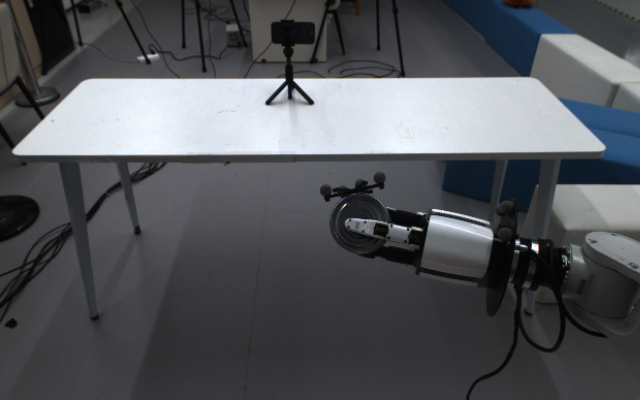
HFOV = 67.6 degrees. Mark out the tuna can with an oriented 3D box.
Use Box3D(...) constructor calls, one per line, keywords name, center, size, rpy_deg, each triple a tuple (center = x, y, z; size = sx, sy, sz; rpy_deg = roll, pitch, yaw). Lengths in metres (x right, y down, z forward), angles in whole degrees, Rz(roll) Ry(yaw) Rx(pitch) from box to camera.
Box3D(name="tuna can", center=(0.061, 0.039, 0.681), size=(0.085, 0.085, 0.034), rpy_deg=(12, -6, 15))
